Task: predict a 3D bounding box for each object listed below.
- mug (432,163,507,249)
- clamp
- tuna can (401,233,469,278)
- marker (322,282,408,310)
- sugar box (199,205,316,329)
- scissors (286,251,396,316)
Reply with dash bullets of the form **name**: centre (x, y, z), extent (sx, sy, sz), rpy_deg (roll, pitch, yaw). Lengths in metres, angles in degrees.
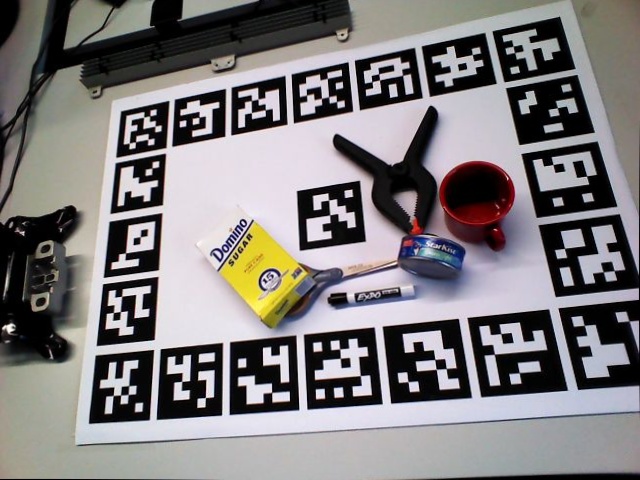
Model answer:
- **mug**: centre (0.206, -0.035, 0.693), extent (0.093, 0.081, 0.117), rpy_deg (-34, 62, 1)
- **clamp**: centre (0.120, -0.096, 0.771), extent (0.166, 0.036, 0.202), rpy_deg (-18, 68, 8)
- **tuna can**: centre (0.151, 0.022, 0.682), extent (0.086, 0.086, 0.033), rpy_deg (8, 72, 18)
- **marker**: centre (0.062, 0.079, 0.721), extent (0.121, 0.019, 0.019), rpy_deg (-12, 69, 11)
- **sugar box**: centre (-0.095, 0.035, 0.760), extent (0.093, 0.045, 0.176), rpy_deg (-42, 60, -3)
- **scissors**: centre (0.014, 0.046, 0.744), extent (0.203, 0.016, 0.087), rpy_deg (-18, 63, 7)
